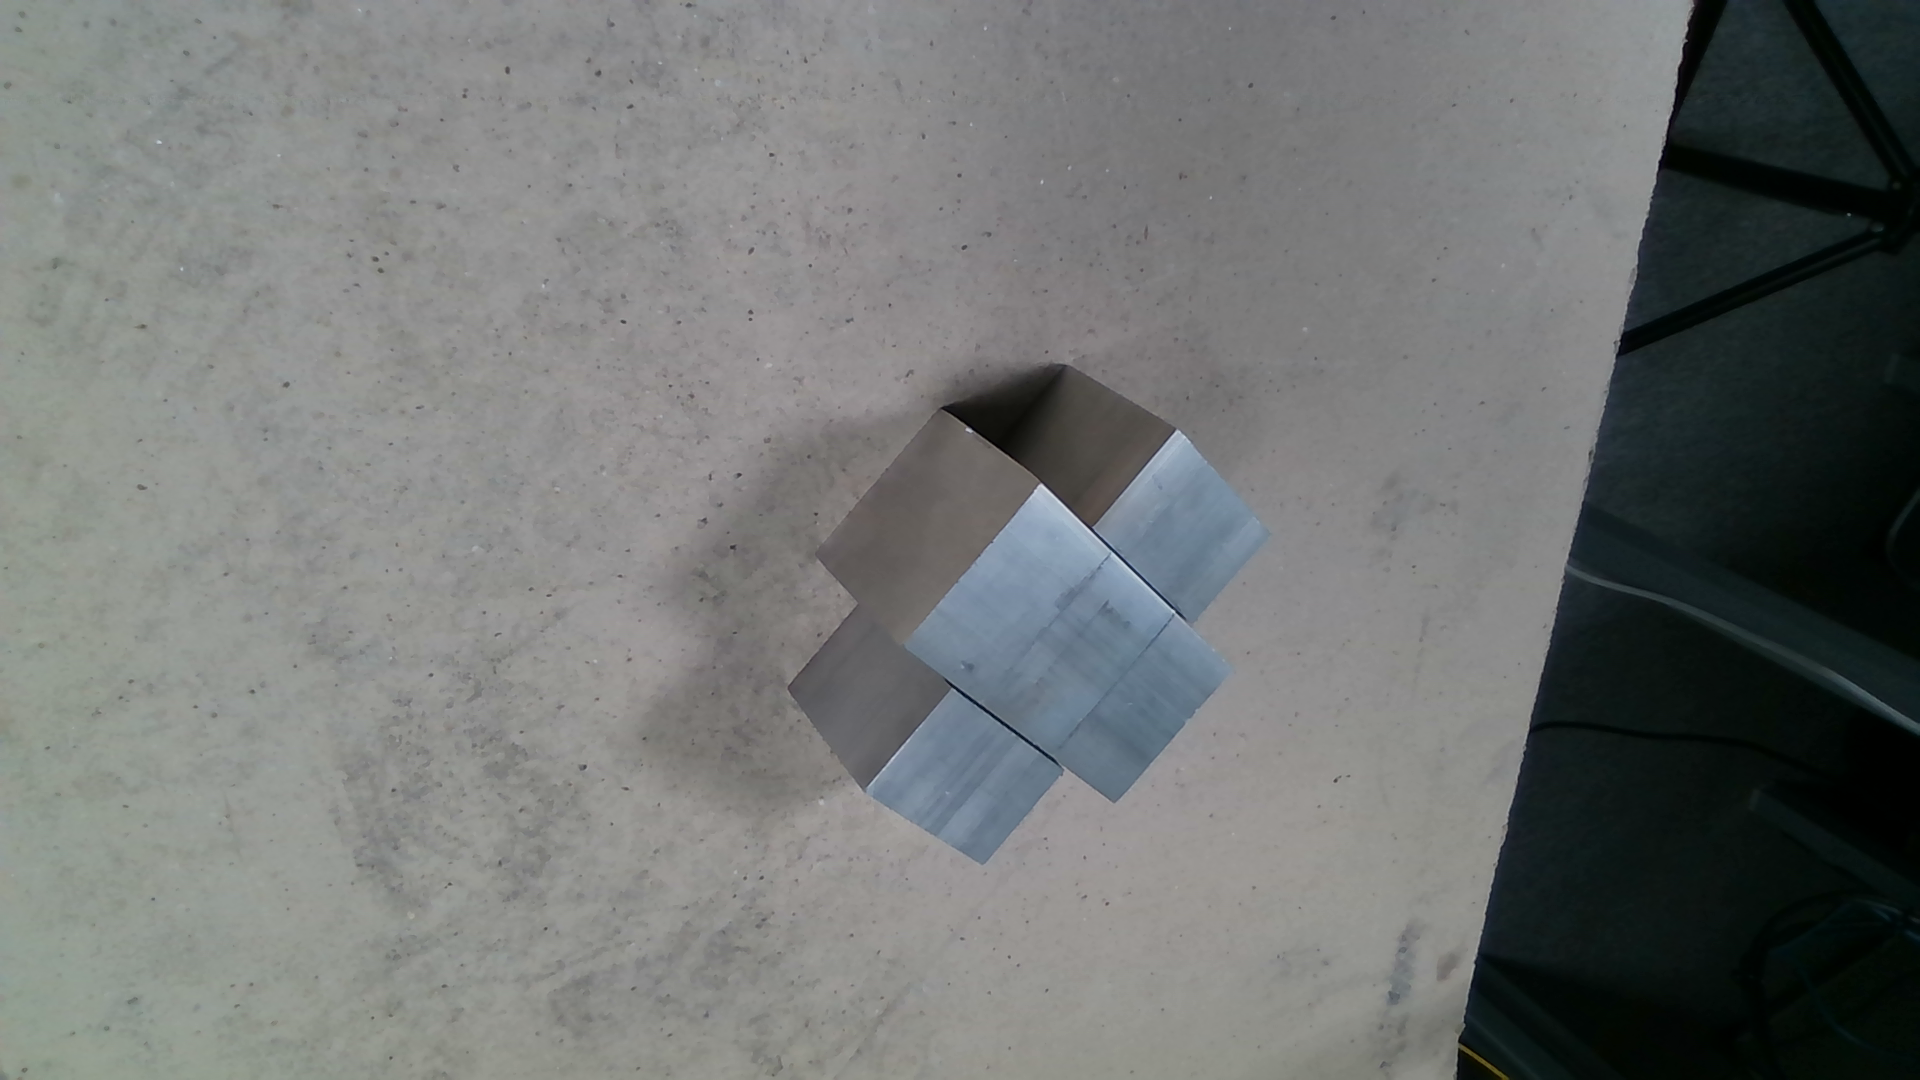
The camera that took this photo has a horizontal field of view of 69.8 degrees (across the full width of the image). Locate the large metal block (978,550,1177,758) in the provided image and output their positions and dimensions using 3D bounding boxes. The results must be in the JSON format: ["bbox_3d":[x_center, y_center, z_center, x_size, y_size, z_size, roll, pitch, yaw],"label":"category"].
[{"bbox_3d":[0.029,0.030,0.580,0.080,0.080,0.050,-49,129,0],"label":"large metal block"}]

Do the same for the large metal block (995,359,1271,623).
[{"bbox_3d":[0.070,-0.021,0.578,0.050,0.080,0.080,-49,129,0],"label":"large metal block"}]

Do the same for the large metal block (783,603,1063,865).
[{"bbox_3d":[-0.016,0.080,0.579,0.050,0.080,0.080,-49,129,0],"label":"large metal block"}]

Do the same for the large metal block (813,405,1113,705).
[{"bbox_3d":[0.000,0.004,0.548,0.080,0.080,0.050,-49,129,0],"label":"large metal block"}]

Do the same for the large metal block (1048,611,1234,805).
[{"bbox_3d":[0.059,0.056,0.612,0.080,0.080,0.050,-49,129,0],"label":"large metal block"}]
